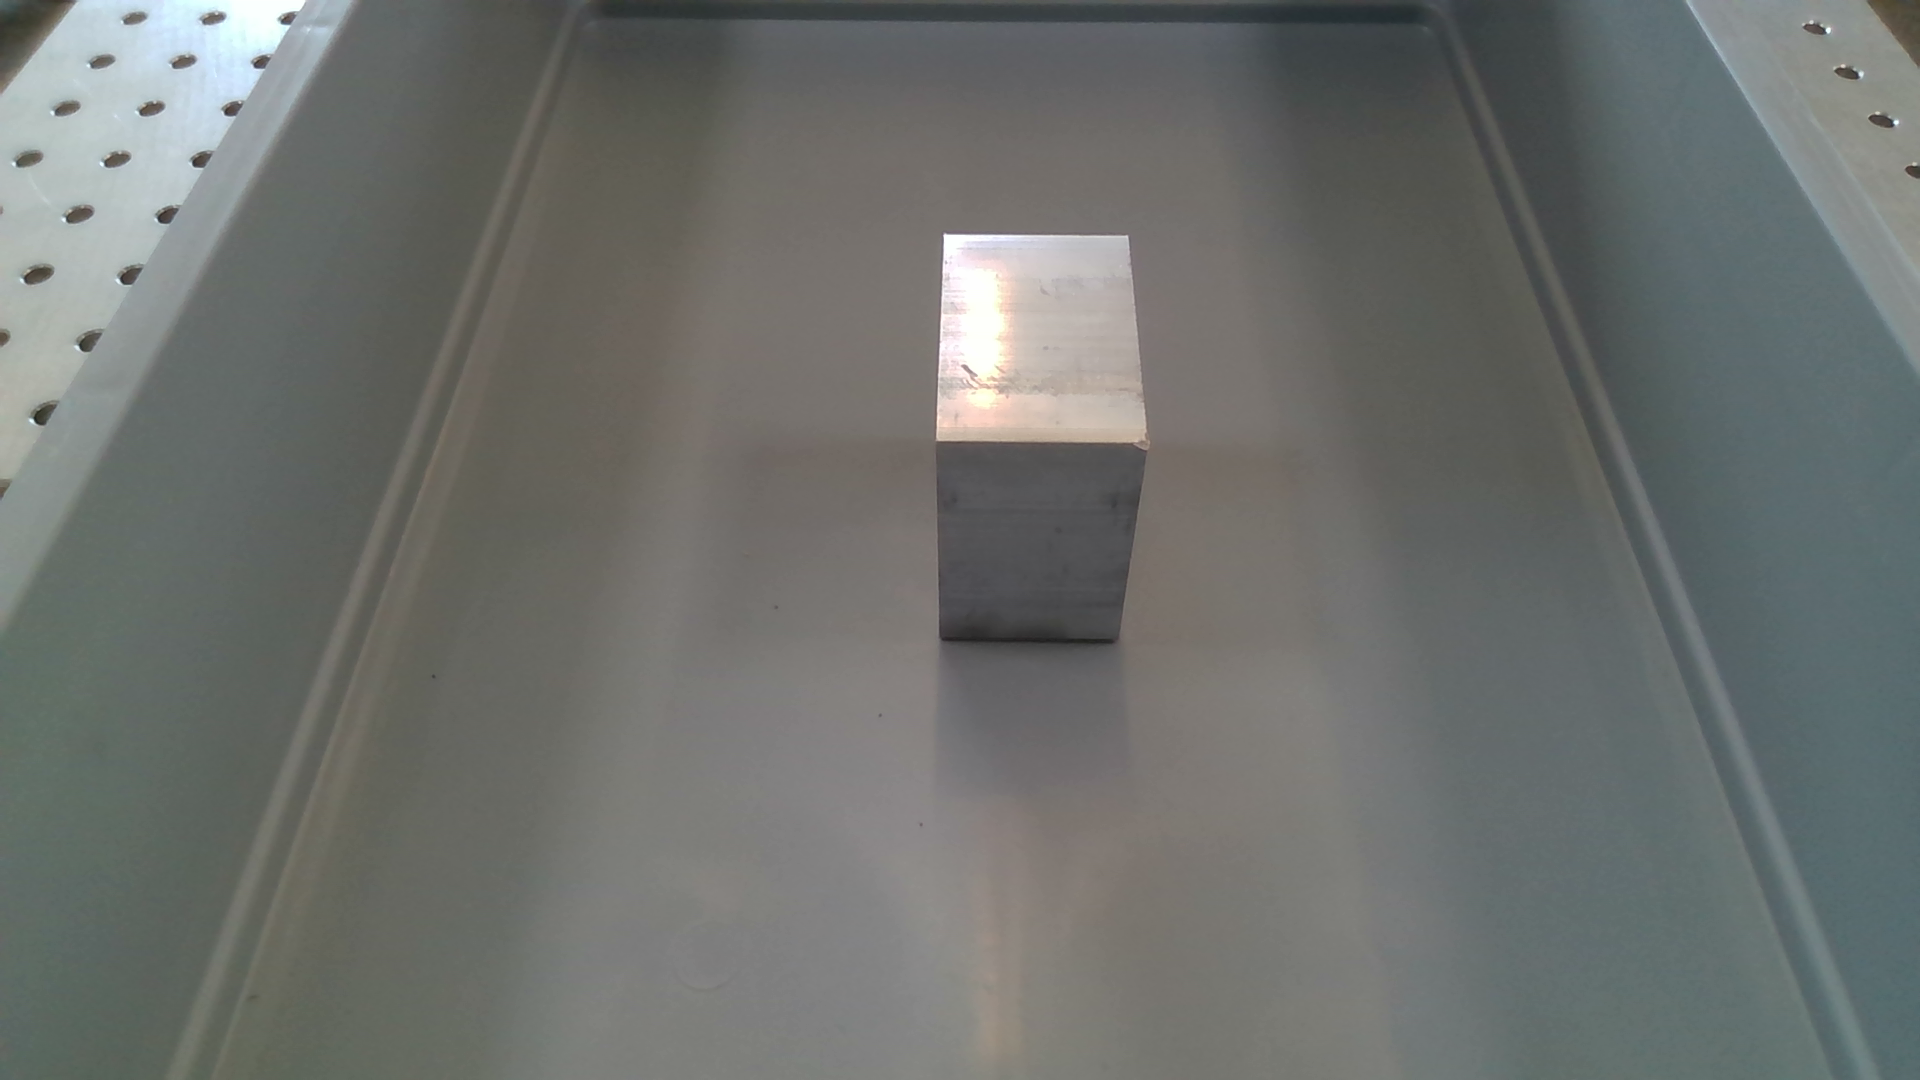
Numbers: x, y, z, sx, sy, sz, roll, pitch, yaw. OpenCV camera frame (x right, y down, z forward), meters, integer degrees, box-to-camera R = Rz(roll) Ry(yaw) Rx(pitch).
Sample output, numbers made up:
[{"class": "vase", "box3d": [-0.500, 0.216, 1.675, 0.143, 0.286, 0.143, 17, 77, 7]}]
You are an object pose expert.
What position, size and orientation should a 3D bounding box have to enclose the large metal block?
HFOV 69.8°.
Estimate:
[{"class": "large metal block", "box3d": [0.020, -0.028, 0.379, 0.050, 0.080, 0.080, 1, 50, 1]}]
